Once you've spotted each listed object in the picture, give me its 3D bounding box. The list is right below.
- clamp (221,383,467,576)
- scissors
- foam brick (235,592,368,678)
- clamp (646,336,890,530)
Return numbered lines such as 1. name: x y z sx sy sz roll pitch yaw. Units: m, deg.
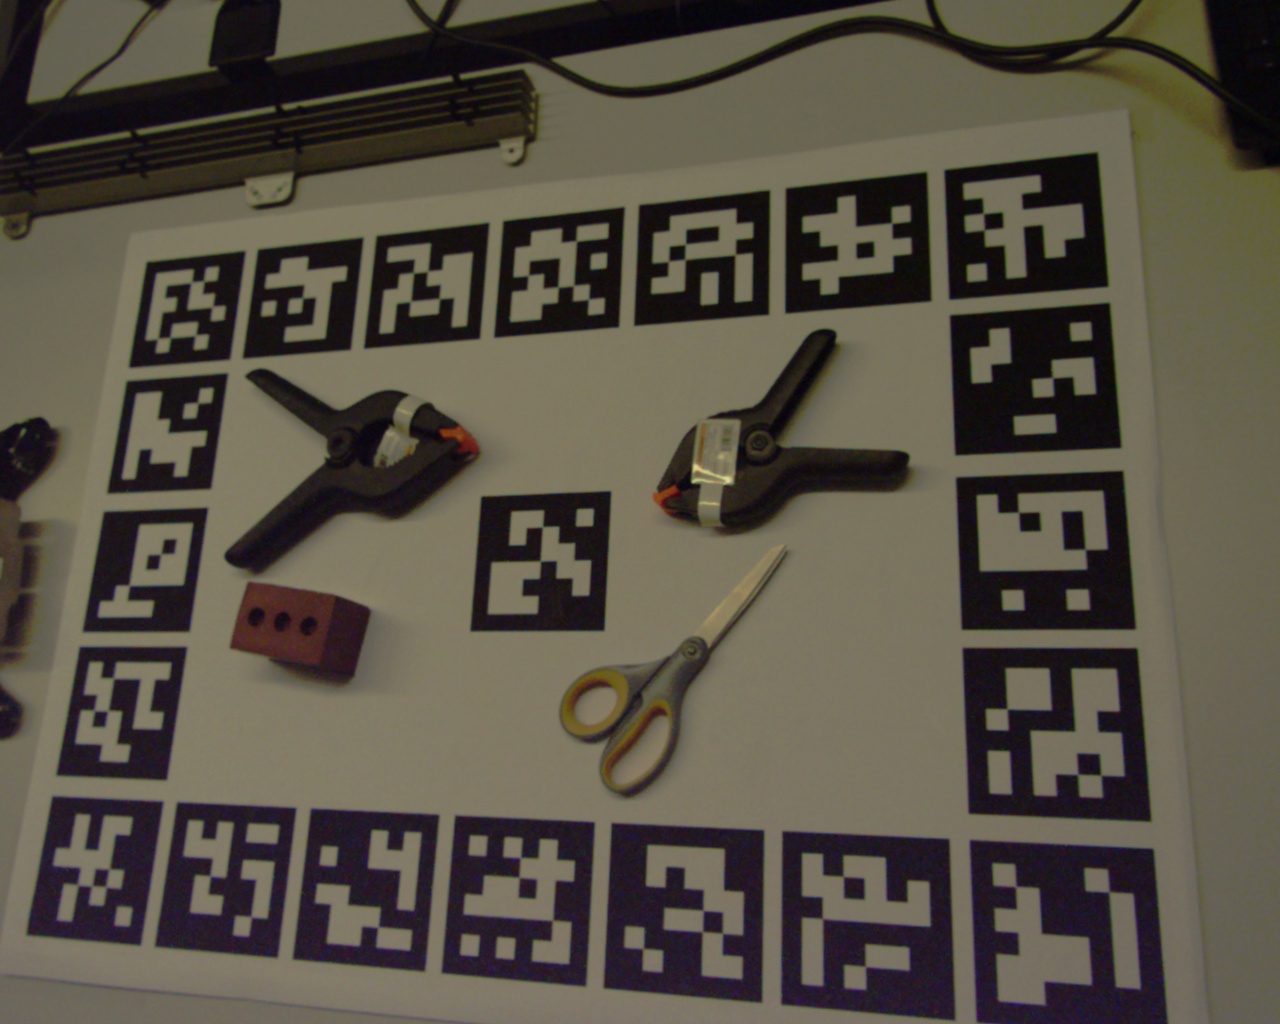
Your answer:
1. clamp: -0.237 -0.037 0.910 0.204 0.036 0.166 -6 71 15
2. scissors: 0.014 0.106 0.801 0.088 0.016 0.203 39 88 15
3. foam brick: -0.260 0.095 0.877 0.079 0.051 0.053 5 79 23
4. clamp: 0.078 -0.038 0.817 0.165 0.036 0.122 -29 76 9
